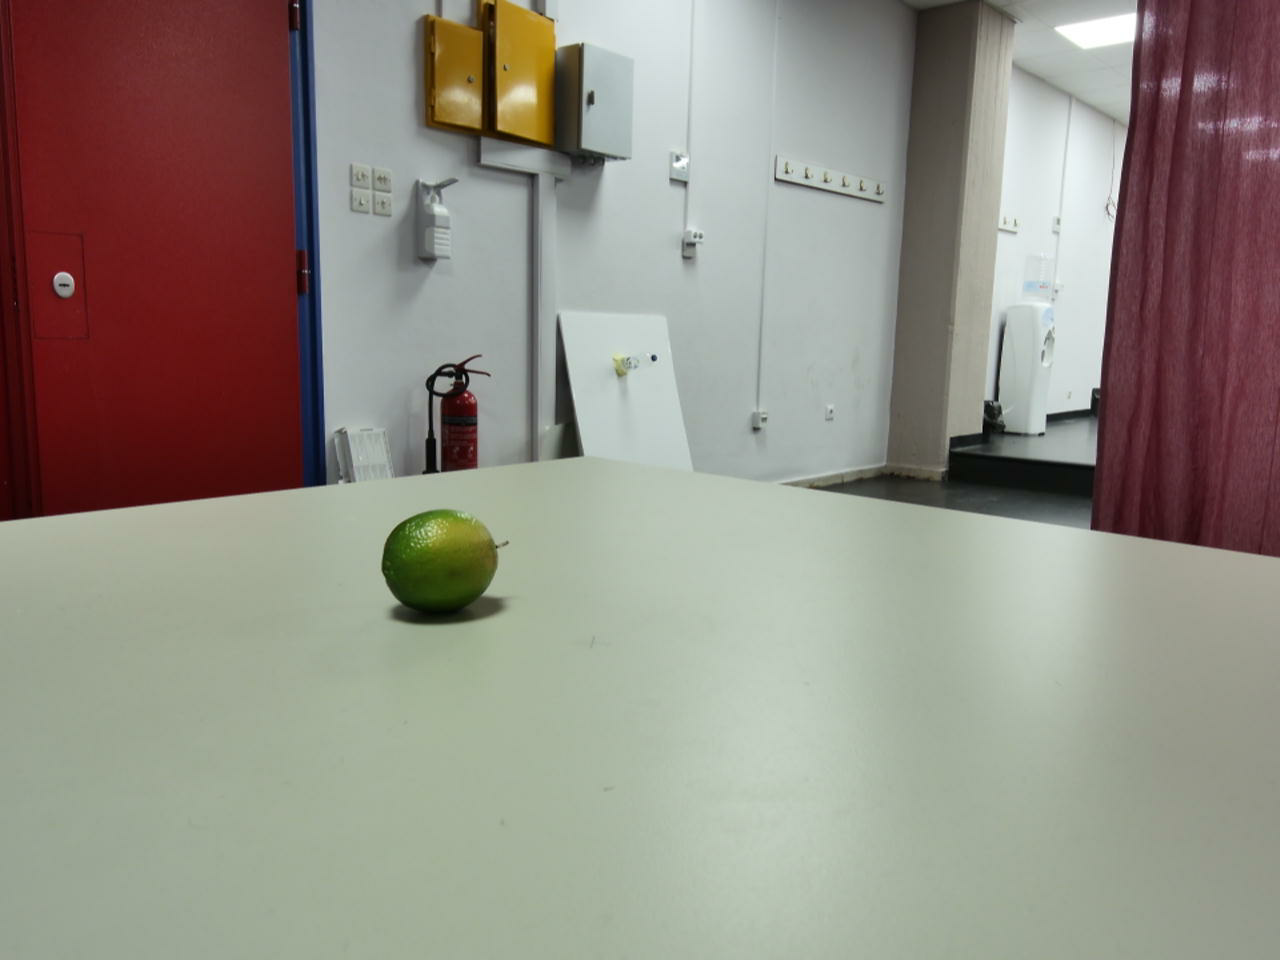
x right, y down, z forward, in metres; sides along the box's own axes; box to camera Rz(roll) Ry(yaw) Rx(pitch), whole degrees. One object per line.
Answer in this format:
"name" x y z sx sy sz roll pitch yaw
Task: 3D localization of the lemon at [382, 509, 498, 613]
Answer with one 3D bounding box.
"lemon" -0.099 0.040 0.496 0.055 0.050 0.054 1 7 2
